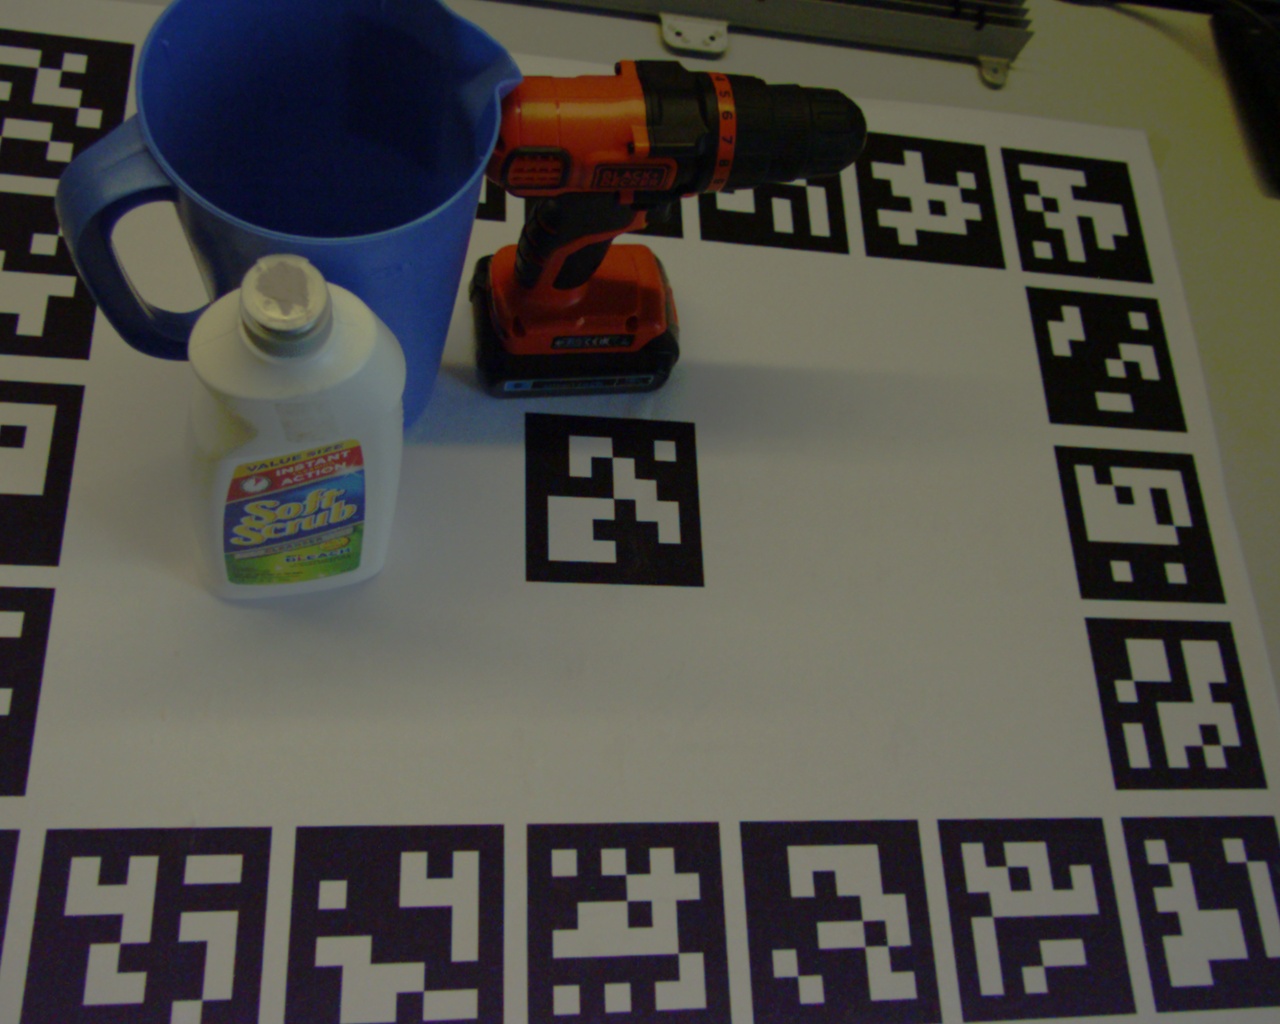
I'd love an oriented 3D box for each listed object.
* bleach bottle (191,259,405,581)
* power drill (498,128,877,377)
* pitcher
[{"bbox_3d":[-0.156,-0.034,0.501,0.102,0.251,0.068,-5,73,-14],"label":"bleach bottle"},{"bbox_3d":[0.008,-0.131,0.602,0.183,0.188,0.057,-1,75,-19],"label":"power drill"},{"bbox_3d":[-0.153,-0.124,0.554,0.187,0.243,0.134,-24,80,-19],"label":"pitcher"}]
